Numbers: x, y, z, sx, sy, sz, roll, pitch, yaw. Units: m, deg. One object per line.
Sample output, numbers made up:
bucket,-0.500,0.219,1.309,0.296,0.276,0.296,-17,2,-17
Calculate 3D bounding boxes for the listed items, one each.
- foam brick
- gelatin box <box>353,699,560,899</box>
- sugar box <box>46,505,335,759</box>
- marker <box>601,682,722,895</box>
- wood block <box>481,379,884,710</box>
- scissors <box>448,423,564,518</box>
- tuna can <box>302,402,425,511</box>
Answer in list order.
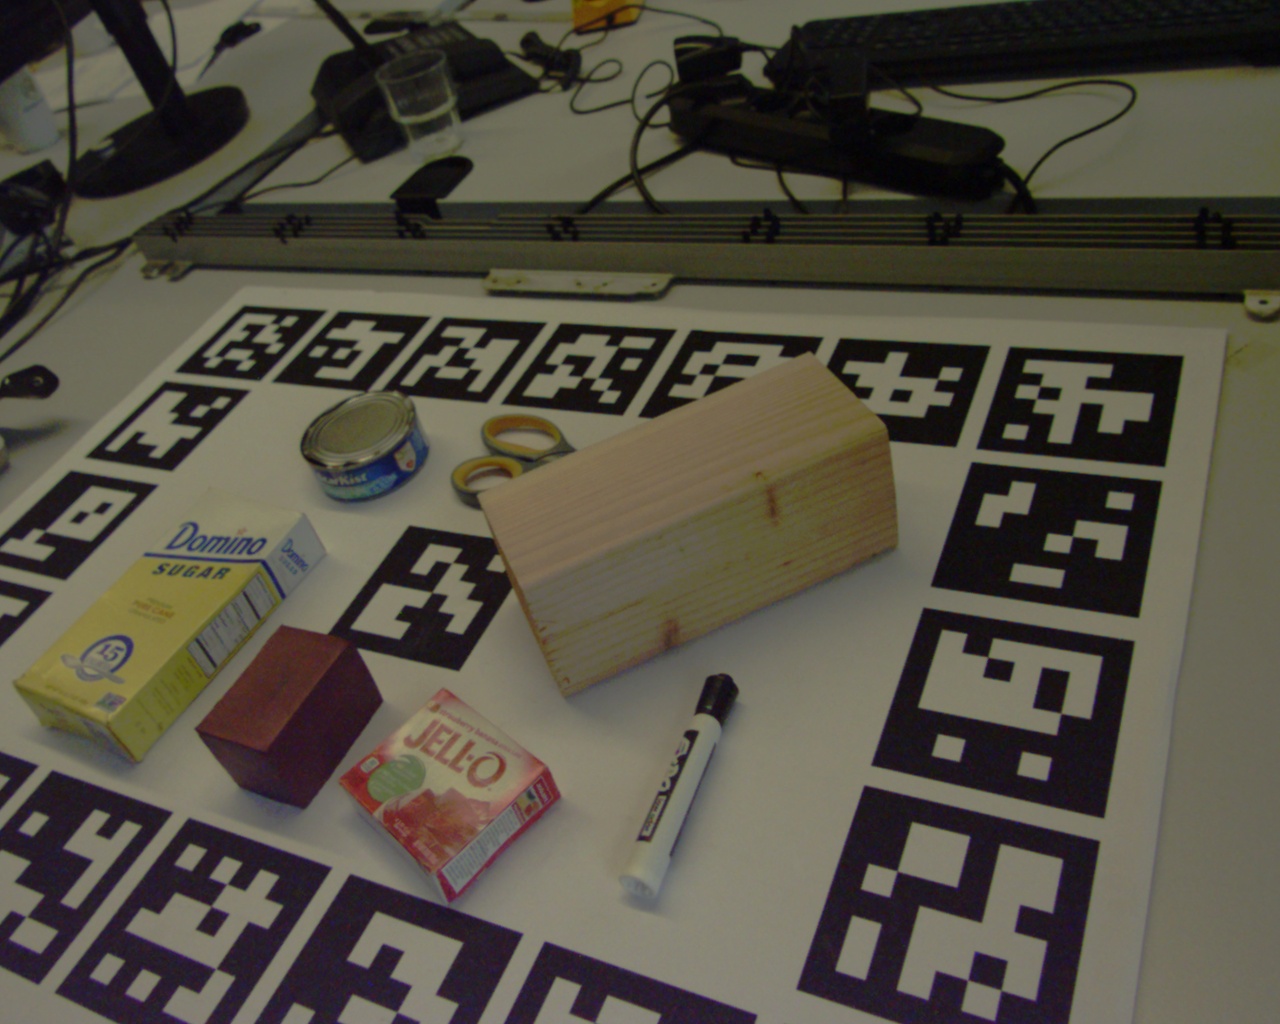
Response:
foam brick,-0.192,0.122,0.659,0.053,0.051,0.078,9,50,29
gelatin box,-0.100,0.151,0.614,0.090,0.030,0.073,26,60,39
sugar box,-0.295,0.074,0.761,0.094,0.045,0.175,12,51,30
marker,0.014,0.139,0.589,0.020,0.019,0.120,9,52,28
wood block,0.026,0.018,0.665,0.206,0.090,0.091,-25,41,-6
scissors,-0.045,-0.018,0.779,0.205,0.016,0.087,13,52,34
tuna can,-0.205,-0.041,0.848,0.086,0.033,0.086,-11,43,10
